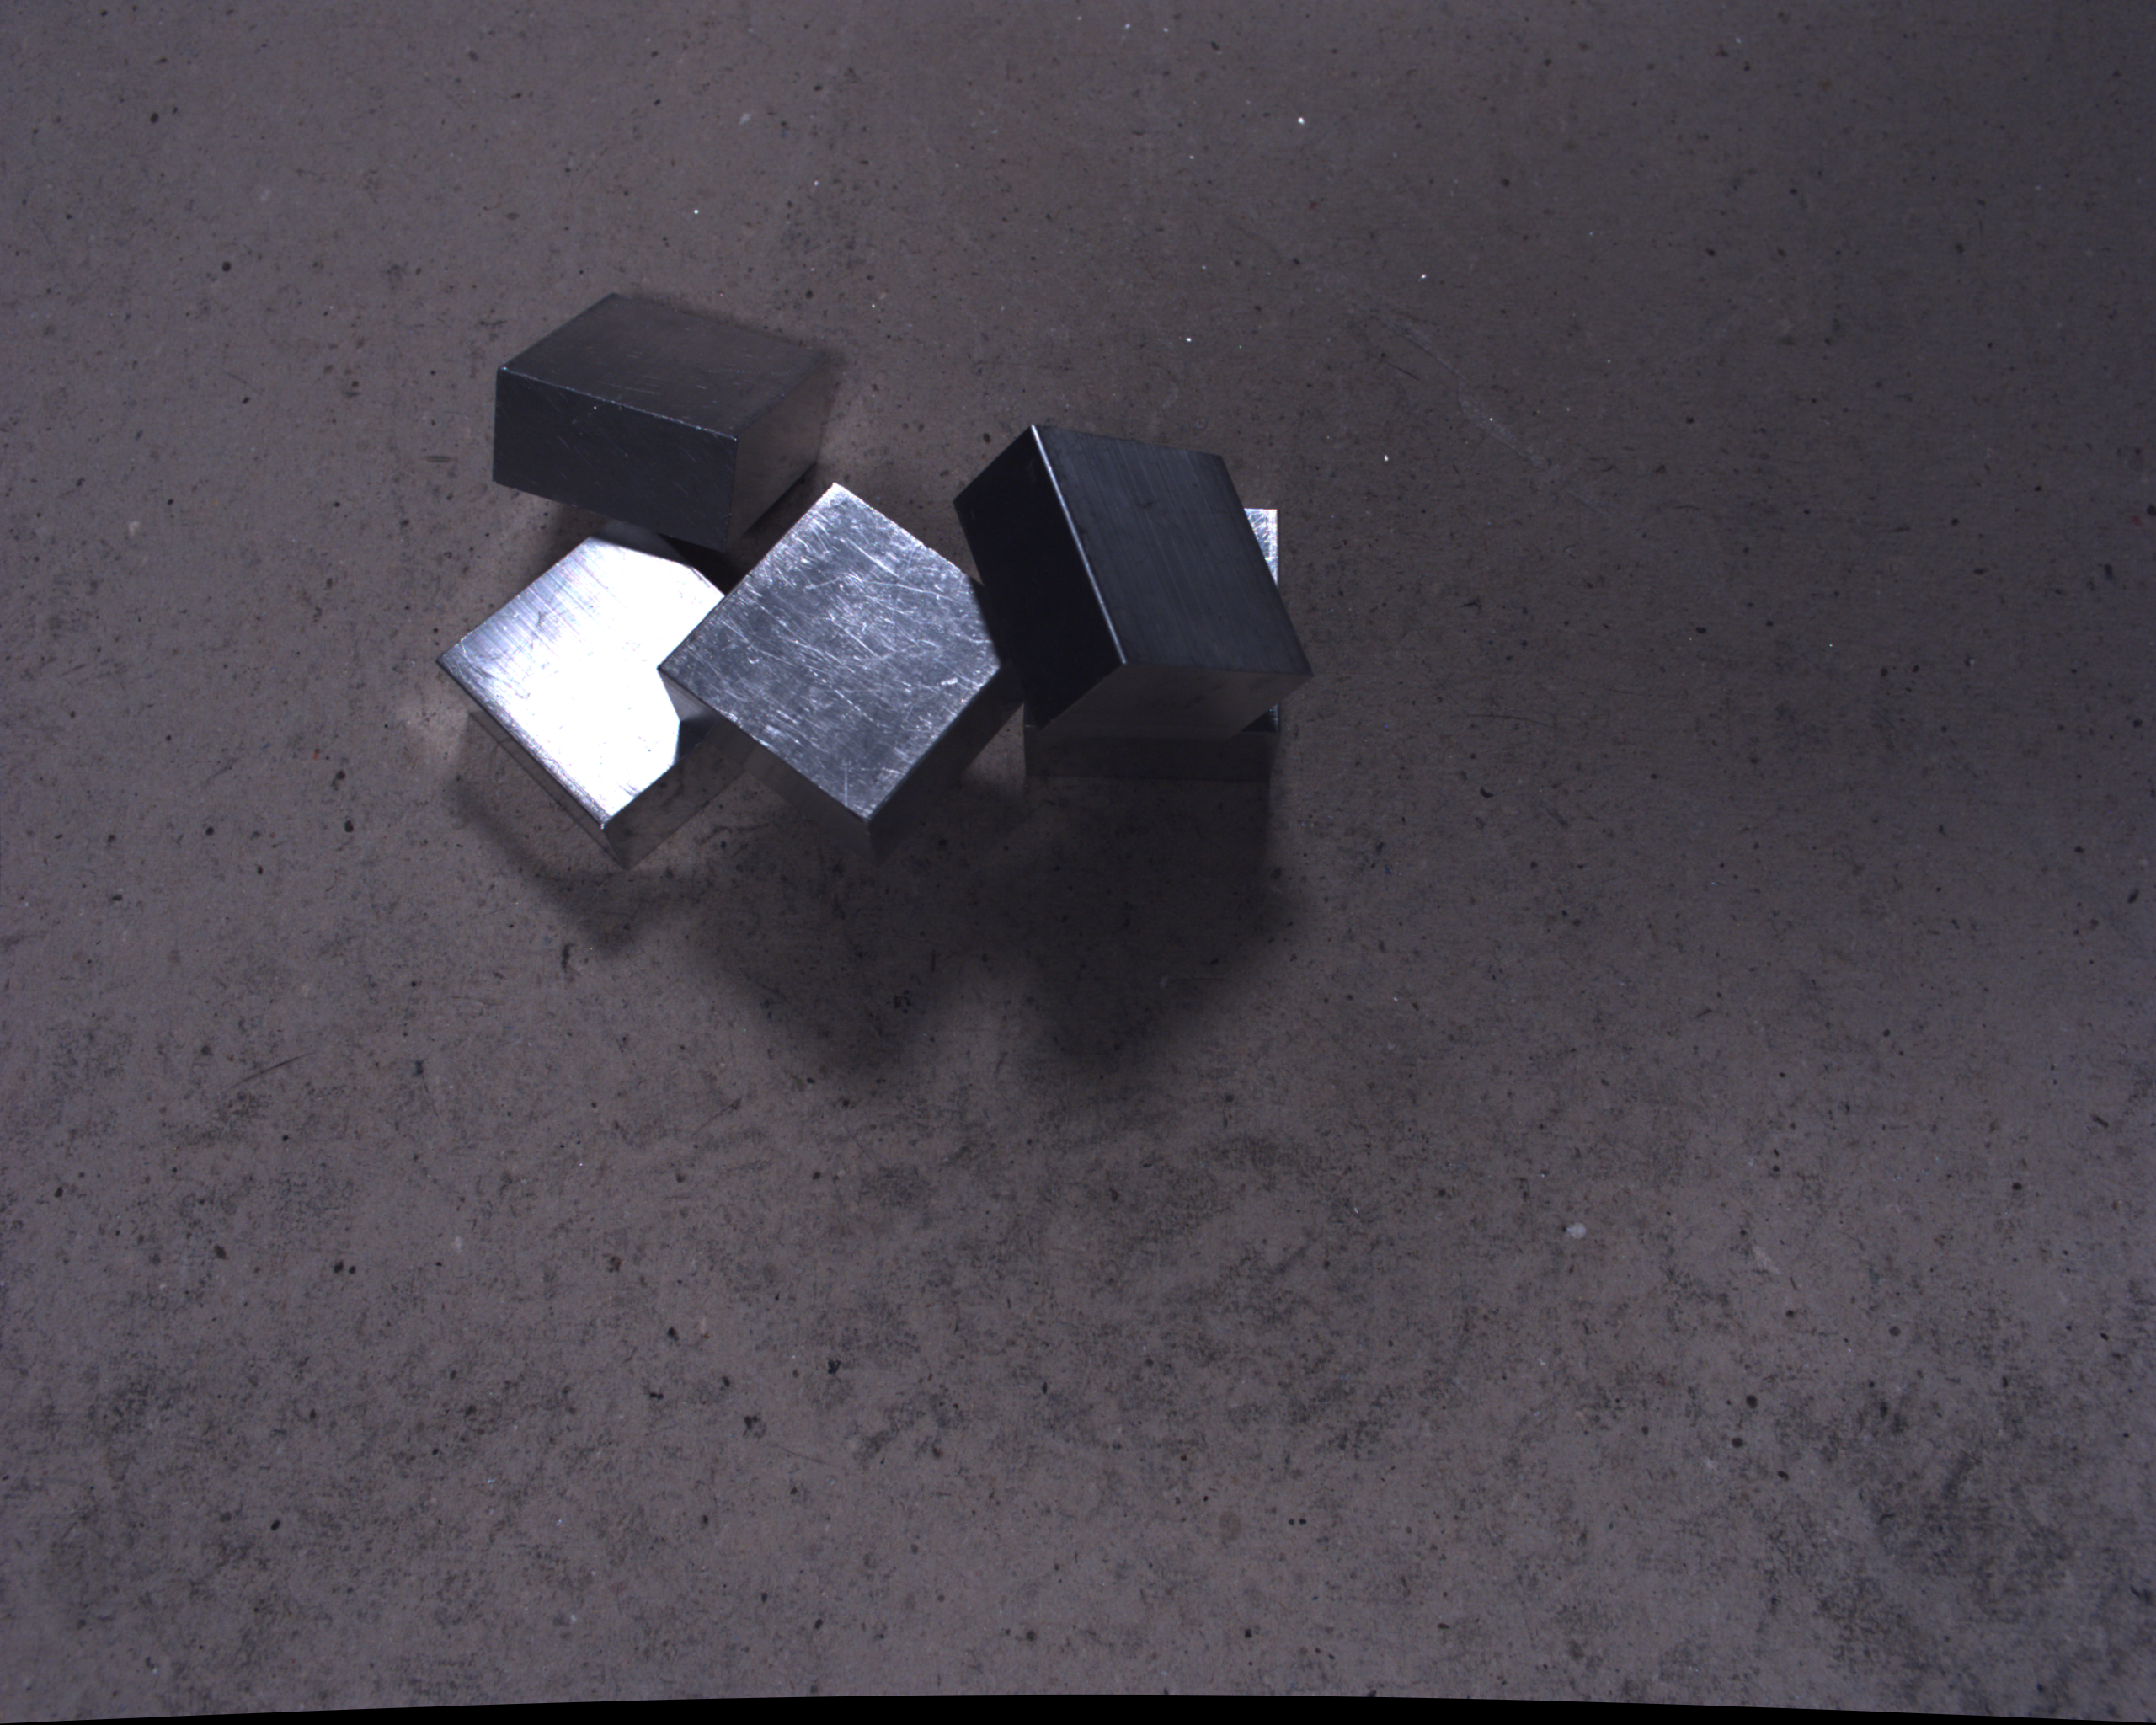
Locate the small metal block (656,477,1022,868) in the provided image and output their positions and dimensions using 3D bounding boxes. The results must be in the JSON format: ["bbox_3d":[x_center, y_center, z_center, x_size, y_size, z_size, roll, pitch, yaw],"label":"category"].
[{"bbox_3d":[-0.042,-0.036,0.394,0.050,0.025,0.050,36,74,12],"label":"small metal block"}]

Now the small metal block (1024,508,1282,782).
[{"bbox_3d":[0.015,-0.045,0.426,0.050,0.025,0.050,2,70,0],"label":"small metal block"}]

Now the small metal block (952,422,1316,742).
[{"bbox_3d":[0.011,-0.051,0.388,0.050,0.025,0.050,-1,64,-44],"label":"small metal block"}]

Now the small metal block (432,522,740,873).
[{"bbox_3d":[-0.091,-0.035,0.421,0.050,0.025,0.050,-43,76,-14],"label":"small metal block"}]

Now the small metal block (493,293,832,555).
[{"bbox_3d":[-0.085,-0.091,0.429,0.050,0.025,0.050,18,34,6],"label":"small metal block"}]
